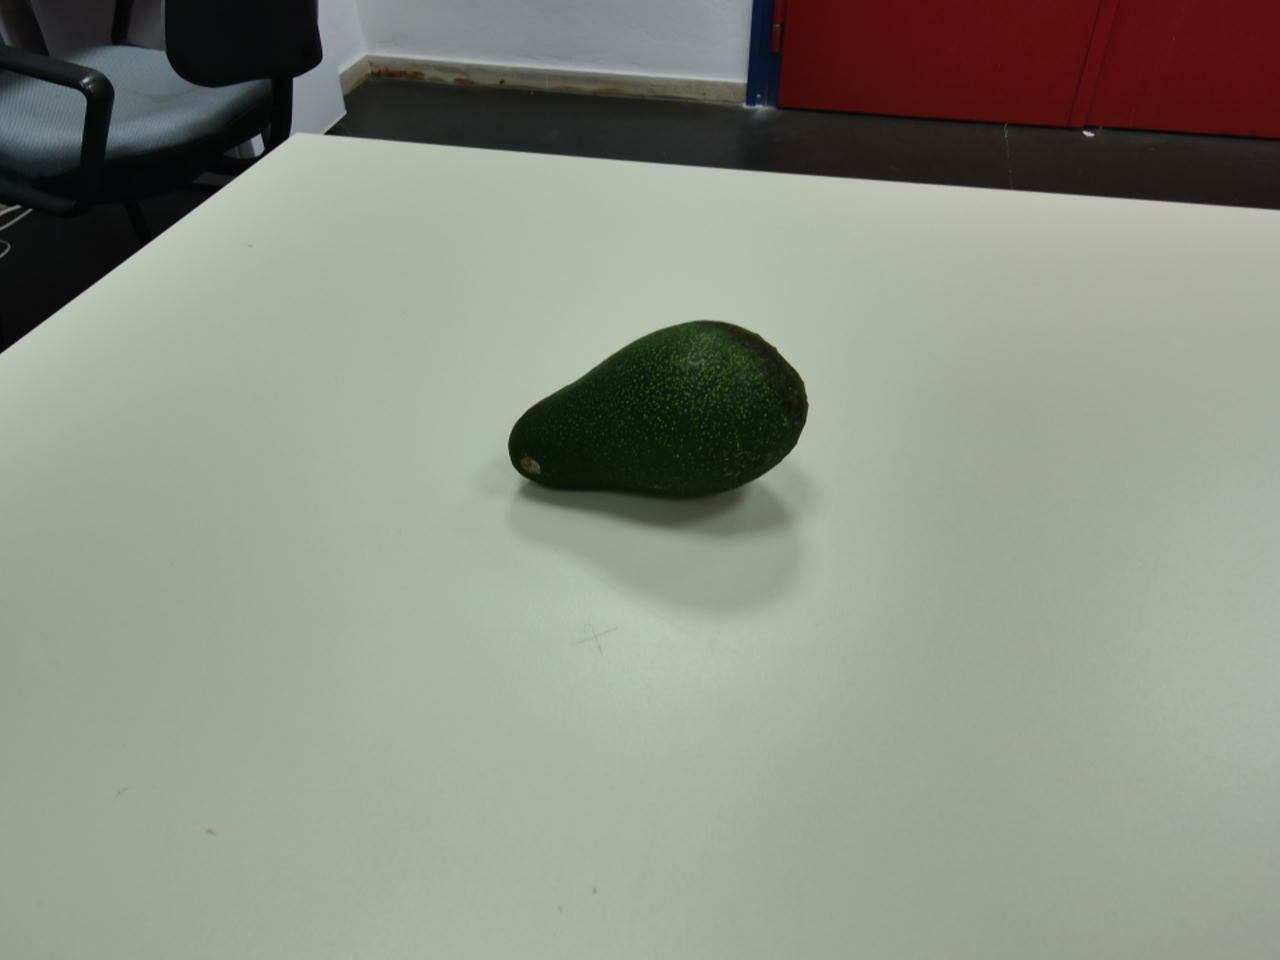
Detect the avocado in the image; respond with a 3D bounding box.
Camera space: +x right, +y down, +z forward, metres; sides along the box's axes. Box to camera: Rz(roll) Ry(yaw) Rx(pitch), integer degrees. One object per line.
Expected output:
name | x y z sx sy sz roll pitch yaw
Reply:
avocado | 0.009 -0.033 0.424 0.123 0.076 0.074 12 40 16
